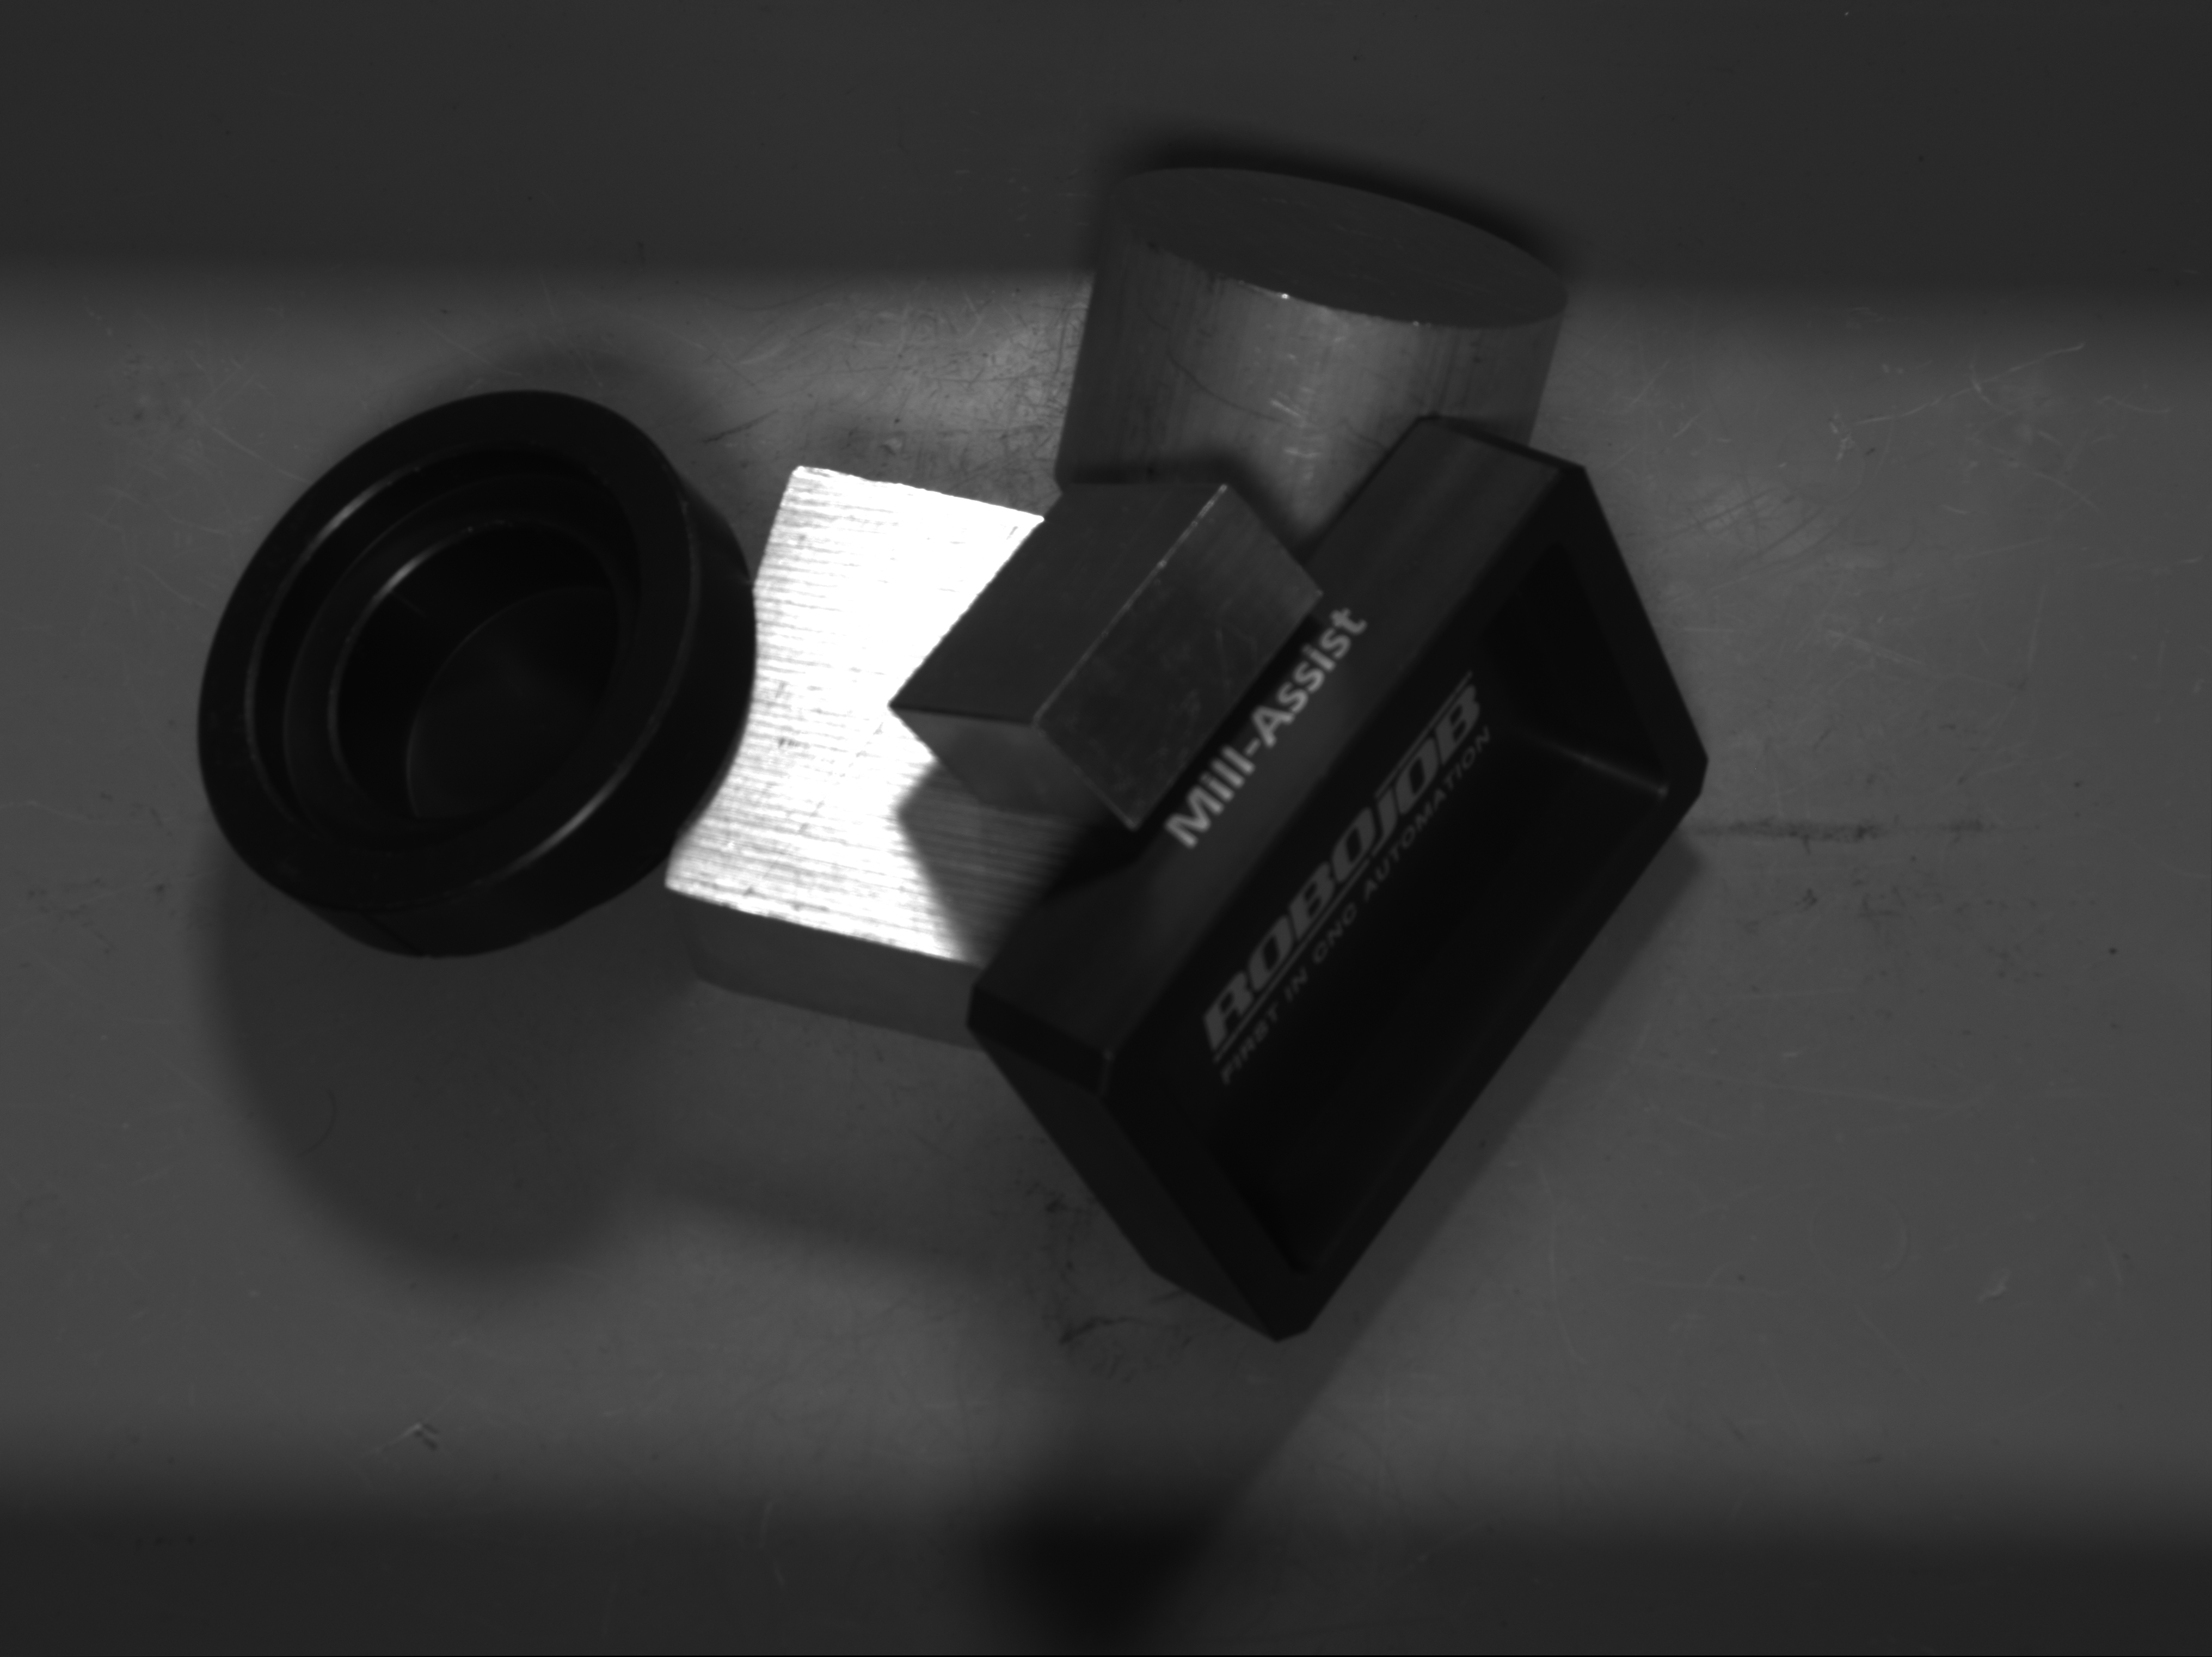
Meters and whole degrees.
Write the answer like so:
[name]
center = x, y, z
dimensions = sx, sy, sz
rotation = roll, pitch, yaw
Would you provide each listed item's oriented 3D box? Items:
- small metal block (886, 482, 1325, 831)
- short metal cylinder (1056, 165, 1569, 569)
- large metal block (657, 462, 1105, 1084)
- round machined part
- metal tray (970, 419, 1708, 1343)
[small metal block]
center = -0.001, -0.029, 0.586
dimensions = 0.025, 0.050, 0.050
rotation = 46, 73, -24
[short metal cylinder]
center = 0.035, -0.078, 0.636
dimensions = 0.080, 0.080, 0.050
rotation = 15, 115, 6
[large metal block]
center = -0.025, -0.008, 0.634
dimensions = 0.080, 0.050, 0.080
rotation = 14, 70, 5
[round machined part]
center = -0.103, -0.023, 0.630
dimensions = 0.098, 0.042, 0.098
rotation = -10, 62, 20
[metal tray]
center = 0.042, 0.009, 0.604
dimensions = 0.030, 0.090, 0.130
rotation = 25, 69, 38
